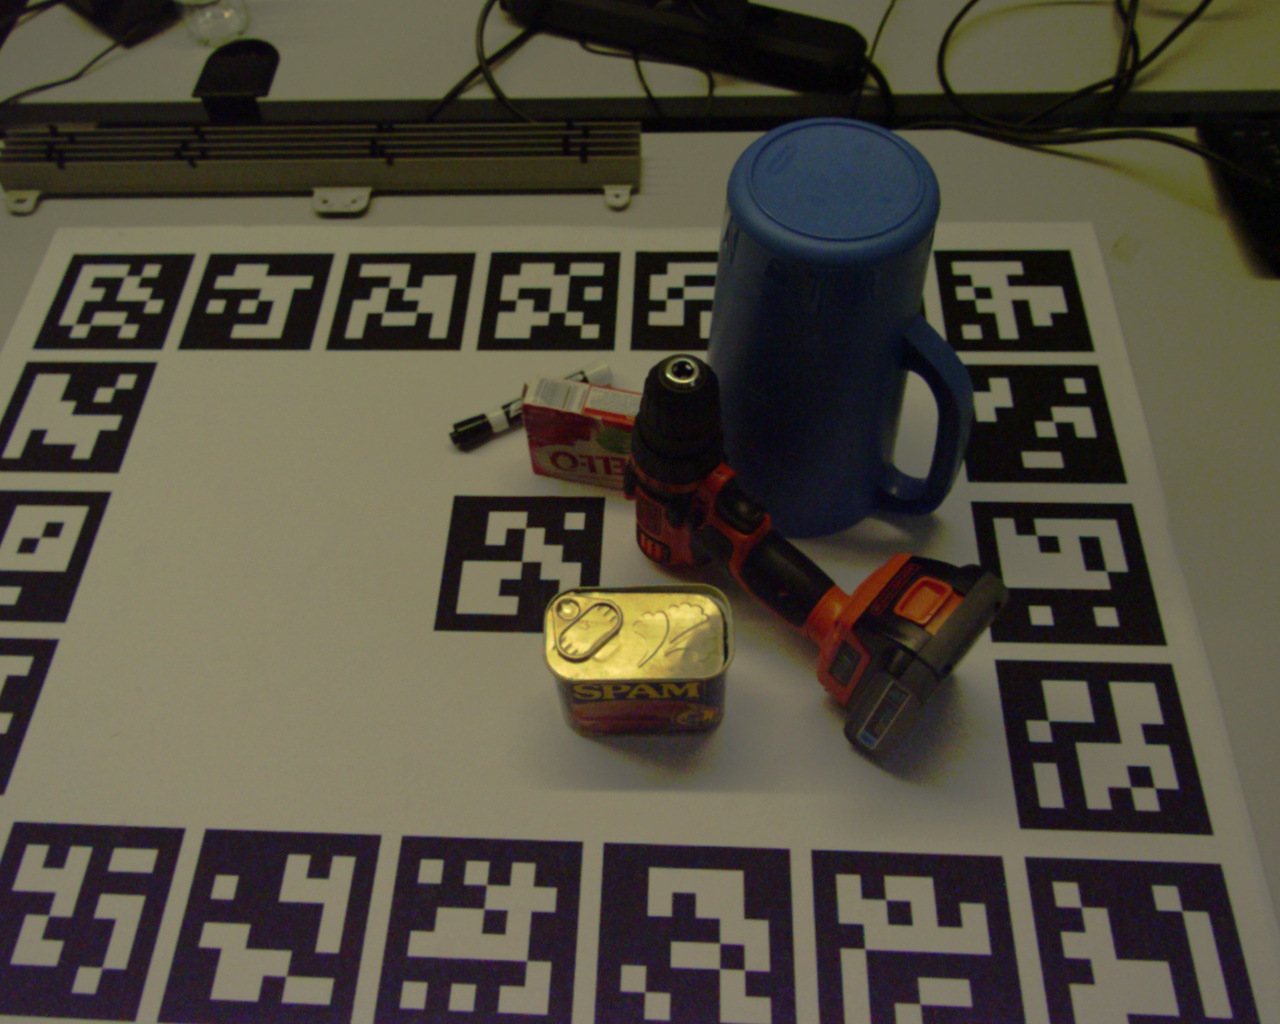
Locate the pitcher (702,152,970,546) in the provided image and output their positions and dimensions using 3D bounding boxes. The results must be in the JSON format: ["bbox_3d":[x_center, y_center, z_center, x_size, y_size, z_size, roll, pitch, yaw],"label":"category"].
[{"bbox_3d":[0.113,-0.089,0.697,0.191,0.241,0.133,27,66,25],"label":"pitcher"}]

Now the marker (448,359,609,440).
[{"bbox_3d":[-0.081,-0.081,0.823,0.120,0.019,0.020,-23,60,-9],"label":"marker"}]

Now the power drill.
[{"bbox_3d":[0.062,0.010,0.665,0.188,0.184,0.057,35,68,15],"label":"power drill"}]

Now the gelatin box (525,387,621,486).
[{"bbox_3d":[-0.029,-0.046,0.770,0.090,0.073,0.030,11,63,8],"label":"gelatin box"}]

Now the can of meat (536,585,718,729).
[{"bbox_3d":[-0.007,0.088,0.674,0.102,0.083,0.058,0,56,2],"label":"can of meat"}]
